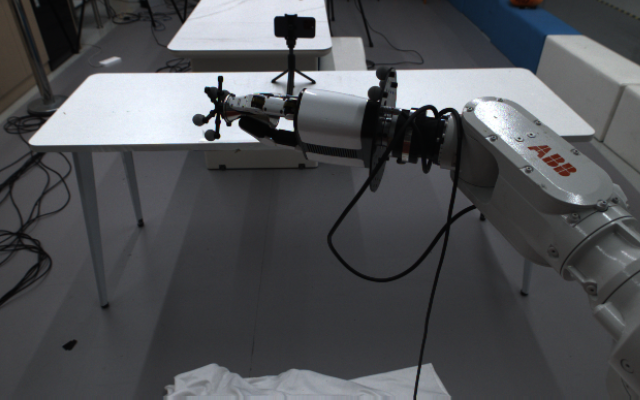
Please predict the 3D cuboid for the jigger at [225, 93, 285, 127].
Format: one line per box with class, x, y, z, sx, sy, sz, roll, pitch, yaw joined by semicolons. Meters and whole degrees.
jigger;-0.089;-0.128;0.669;0.071;0.043;0.043;8;35;15
